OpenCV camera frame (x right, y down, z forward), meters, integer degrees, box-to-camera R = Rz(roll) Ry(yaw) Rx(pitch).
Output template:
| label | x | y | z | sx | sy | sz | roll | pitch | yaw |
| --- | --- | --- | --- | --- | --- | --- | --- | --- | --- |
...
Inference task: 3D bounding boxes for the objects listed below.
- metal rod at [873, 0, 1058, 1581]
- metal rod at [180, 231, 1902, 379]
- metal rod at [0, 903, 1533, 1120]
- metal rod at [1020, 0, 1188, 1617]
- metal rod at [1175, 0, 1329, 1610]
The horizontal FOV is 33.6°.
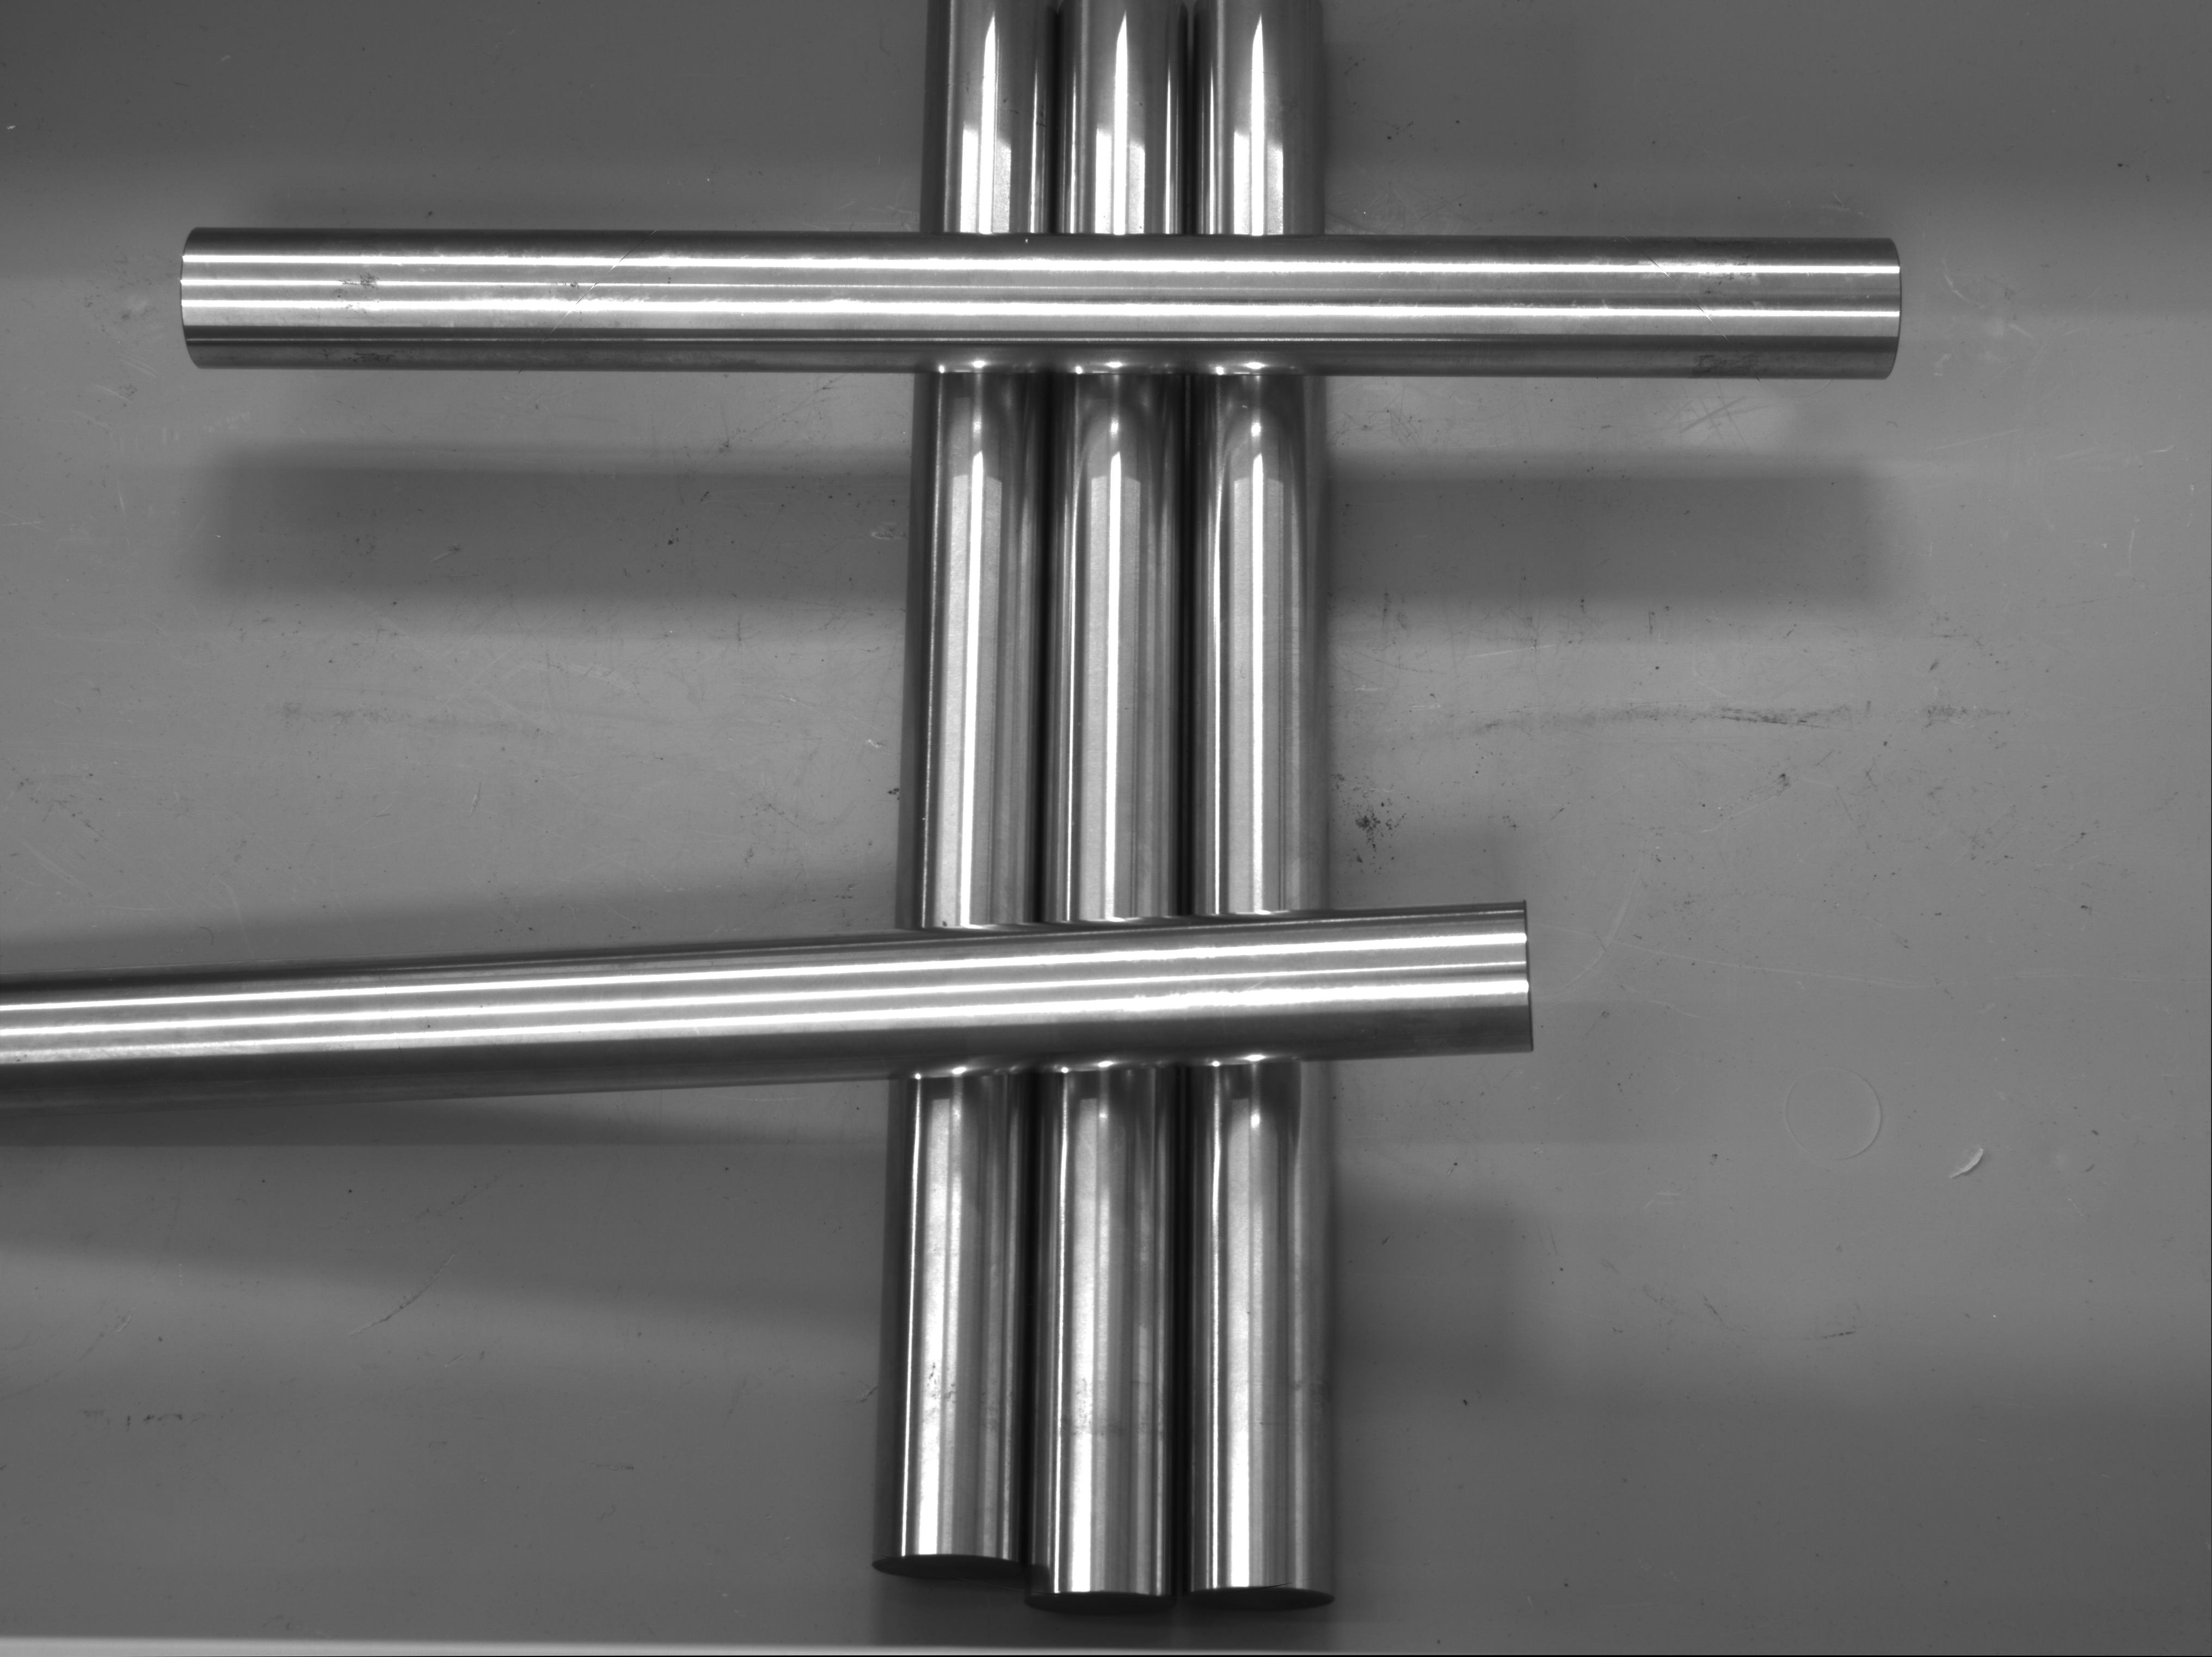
| label | x | y | z | sx | sy | sz | roll | pitch | yaw |
| --- | --- | --- | --- | --- | --- | --- | --- | --- | --- |
| metal rod | -0.024 | -0.019 | 0.652 | 0.025 | 0.025 | 0.300 | 1 | 70 | 0 |
| metal rod | -0.011 | -0.093 | 0.651 | 0.300 | 0.025 | 0.025 | 0 | 70 | 0 |
| metal rod | -0.080 | 0.032 | 0.613 | 0.300 | 0.025 | 0.025 | -3 | 70 | 6 |
| metal rod | 0.001 | -0.014 | 0.650 | 0.025 | 0.025 | 0.300 | 1 | 70 | 0 |
| metal rod | 0.026 | -0.015 | 0.649 | 0.025 | 0.025 | 0.300 | 1 | 70 | 0 |
